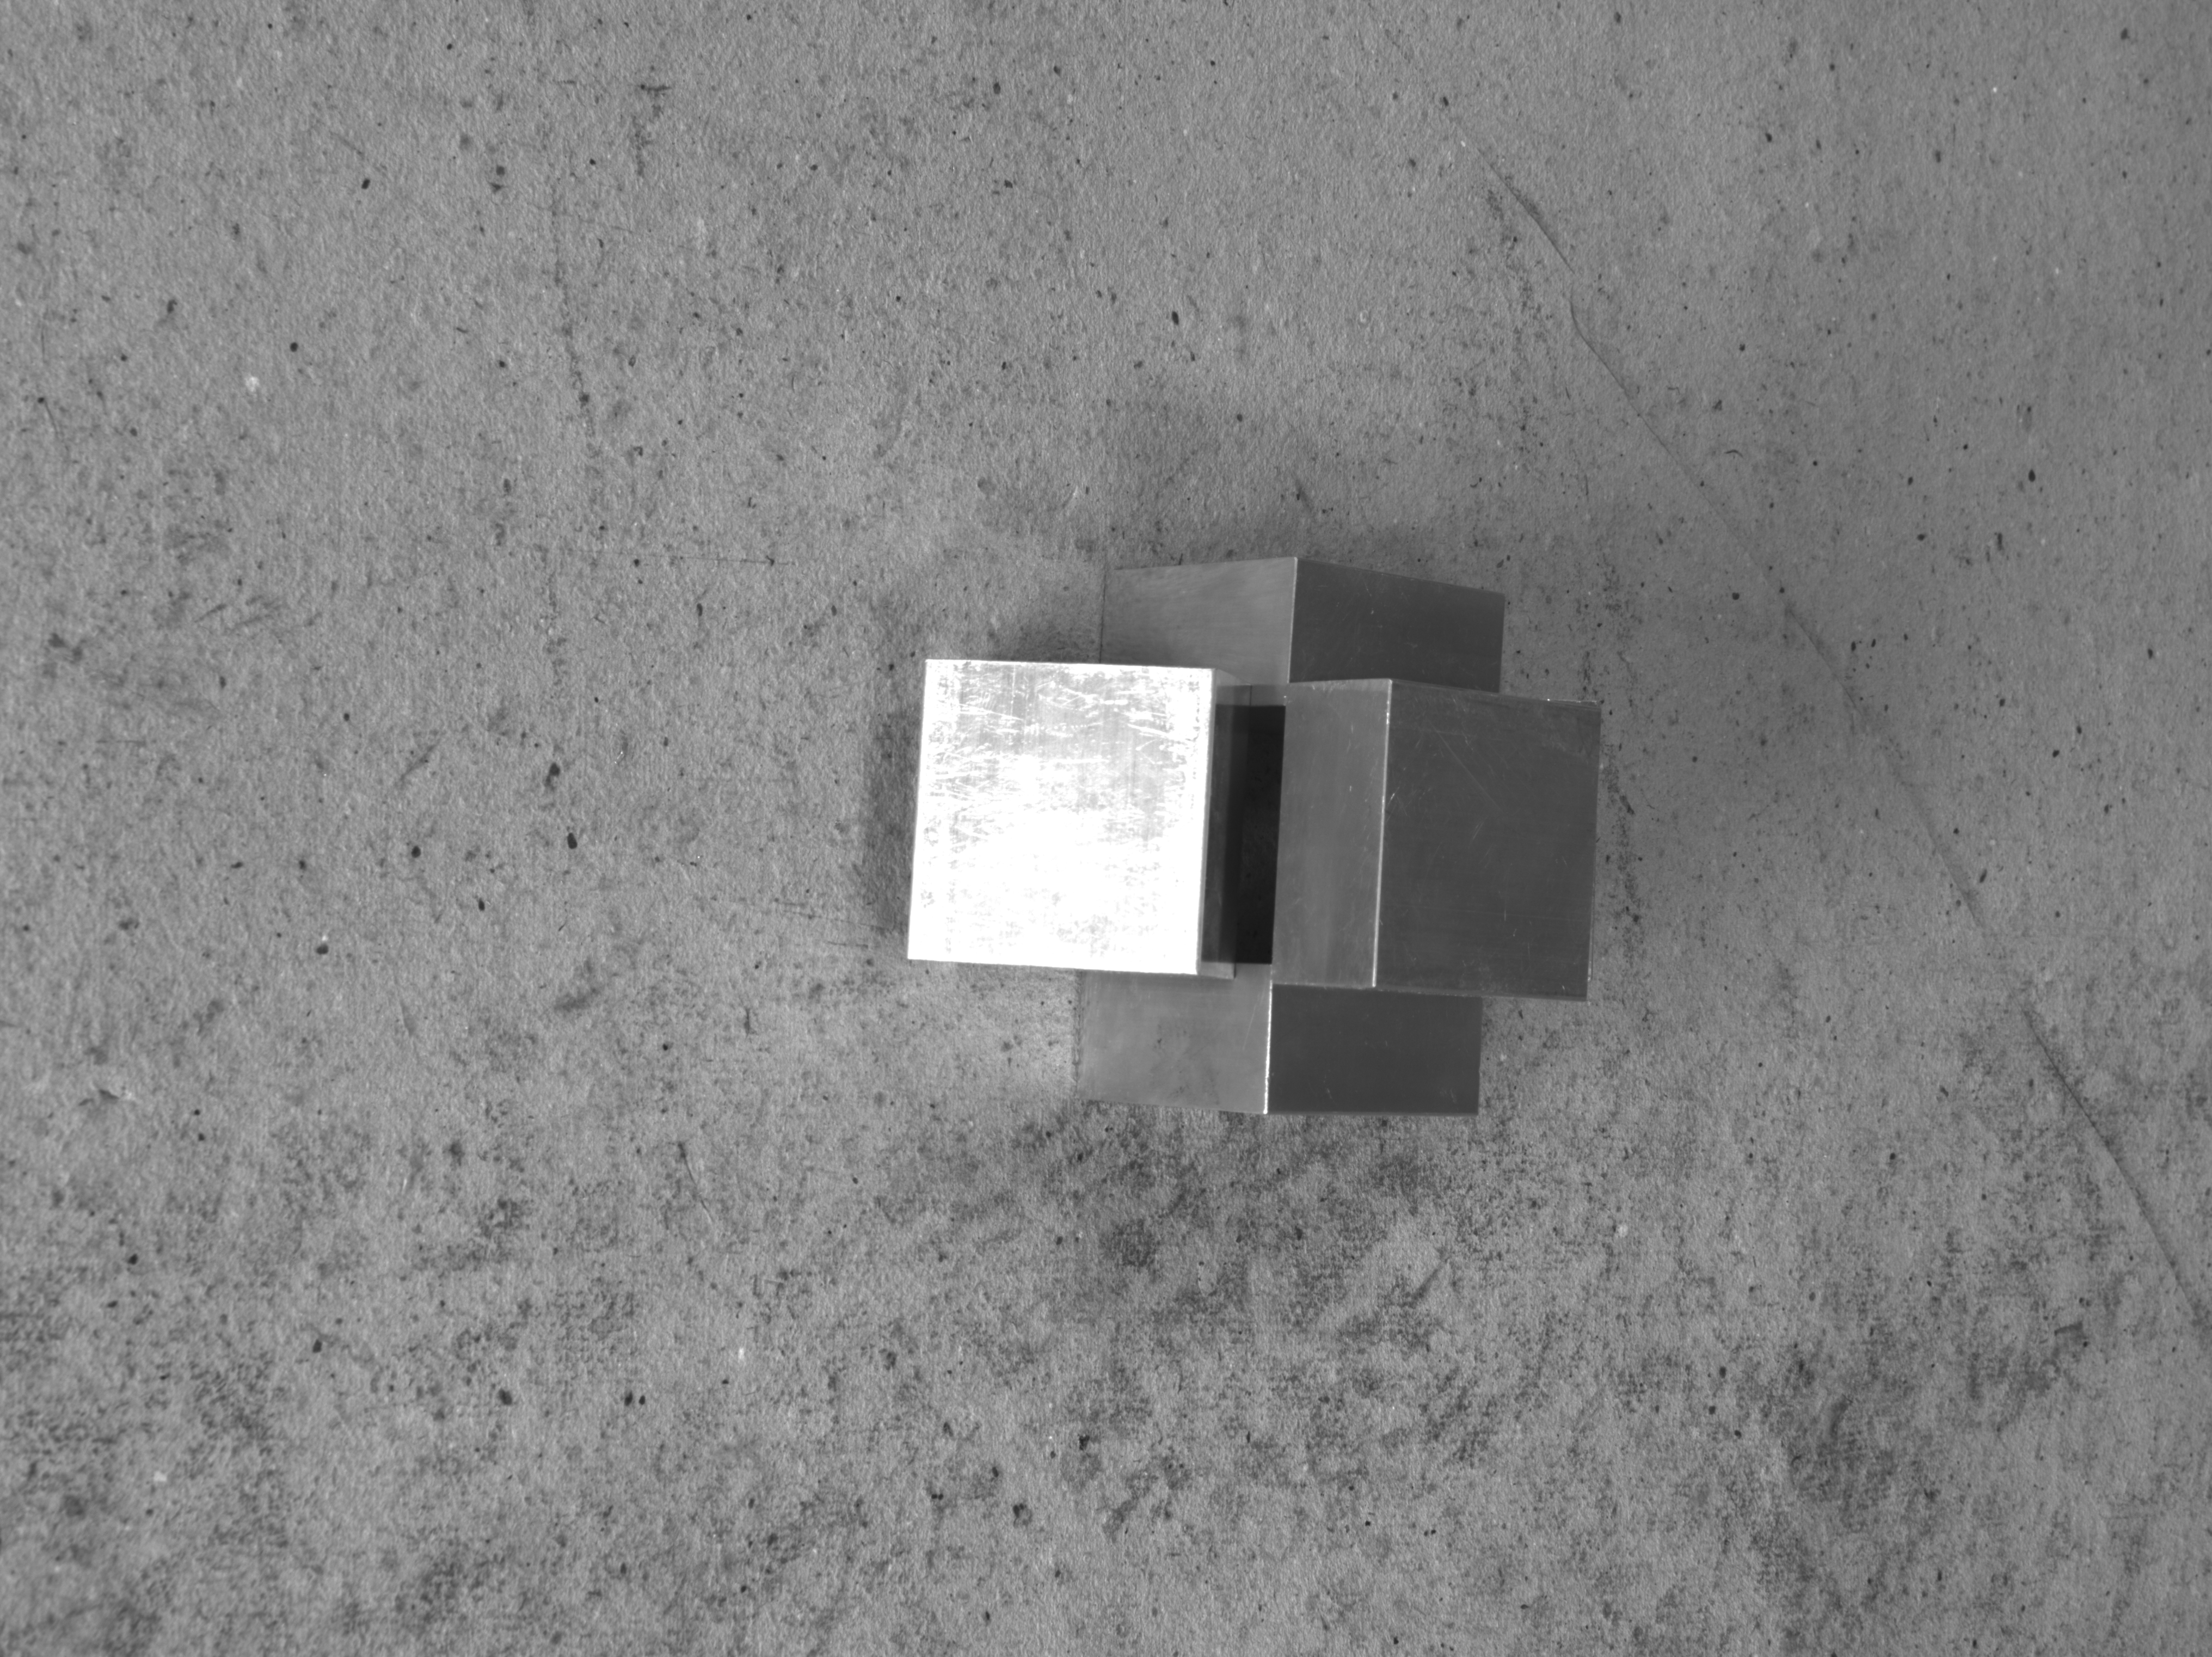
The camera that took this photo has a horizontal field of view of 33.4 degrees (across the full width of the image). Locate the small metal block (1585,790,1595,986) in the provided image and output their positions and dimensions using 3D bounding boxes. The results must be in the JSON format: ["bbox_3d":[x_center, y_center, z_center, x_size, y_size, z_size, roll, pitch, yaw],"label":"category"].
[{"bbox_3d":[0.072,0.003,0.678,0.025,0.050,0.050,2,89,-4],"label":"small metal block"}]

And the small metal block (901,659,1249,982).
[{"bbox_3d":[-0.005,-0.001,0.614,0.025,0.050,0.050,14,80,-75],"label":"small metal block"}]

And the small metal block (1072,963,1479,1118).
[{"bbox_3d":[0.030,0.036,0.646,0.050,0.050,0.025,4,87,-40],"label":"small metal block"}]

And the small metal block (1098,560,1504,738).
[{"bbox_3d":[0.034,-0.030,0.649,0.050,0.050,0.025,6,86,-39],"label":"small metal block"}]

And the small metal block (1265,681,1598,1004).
[{"bbox_3d":[0.055,0.003,0.619,0.050,0.025,0.050,5,87,-39],"label":"small metal block"}]
